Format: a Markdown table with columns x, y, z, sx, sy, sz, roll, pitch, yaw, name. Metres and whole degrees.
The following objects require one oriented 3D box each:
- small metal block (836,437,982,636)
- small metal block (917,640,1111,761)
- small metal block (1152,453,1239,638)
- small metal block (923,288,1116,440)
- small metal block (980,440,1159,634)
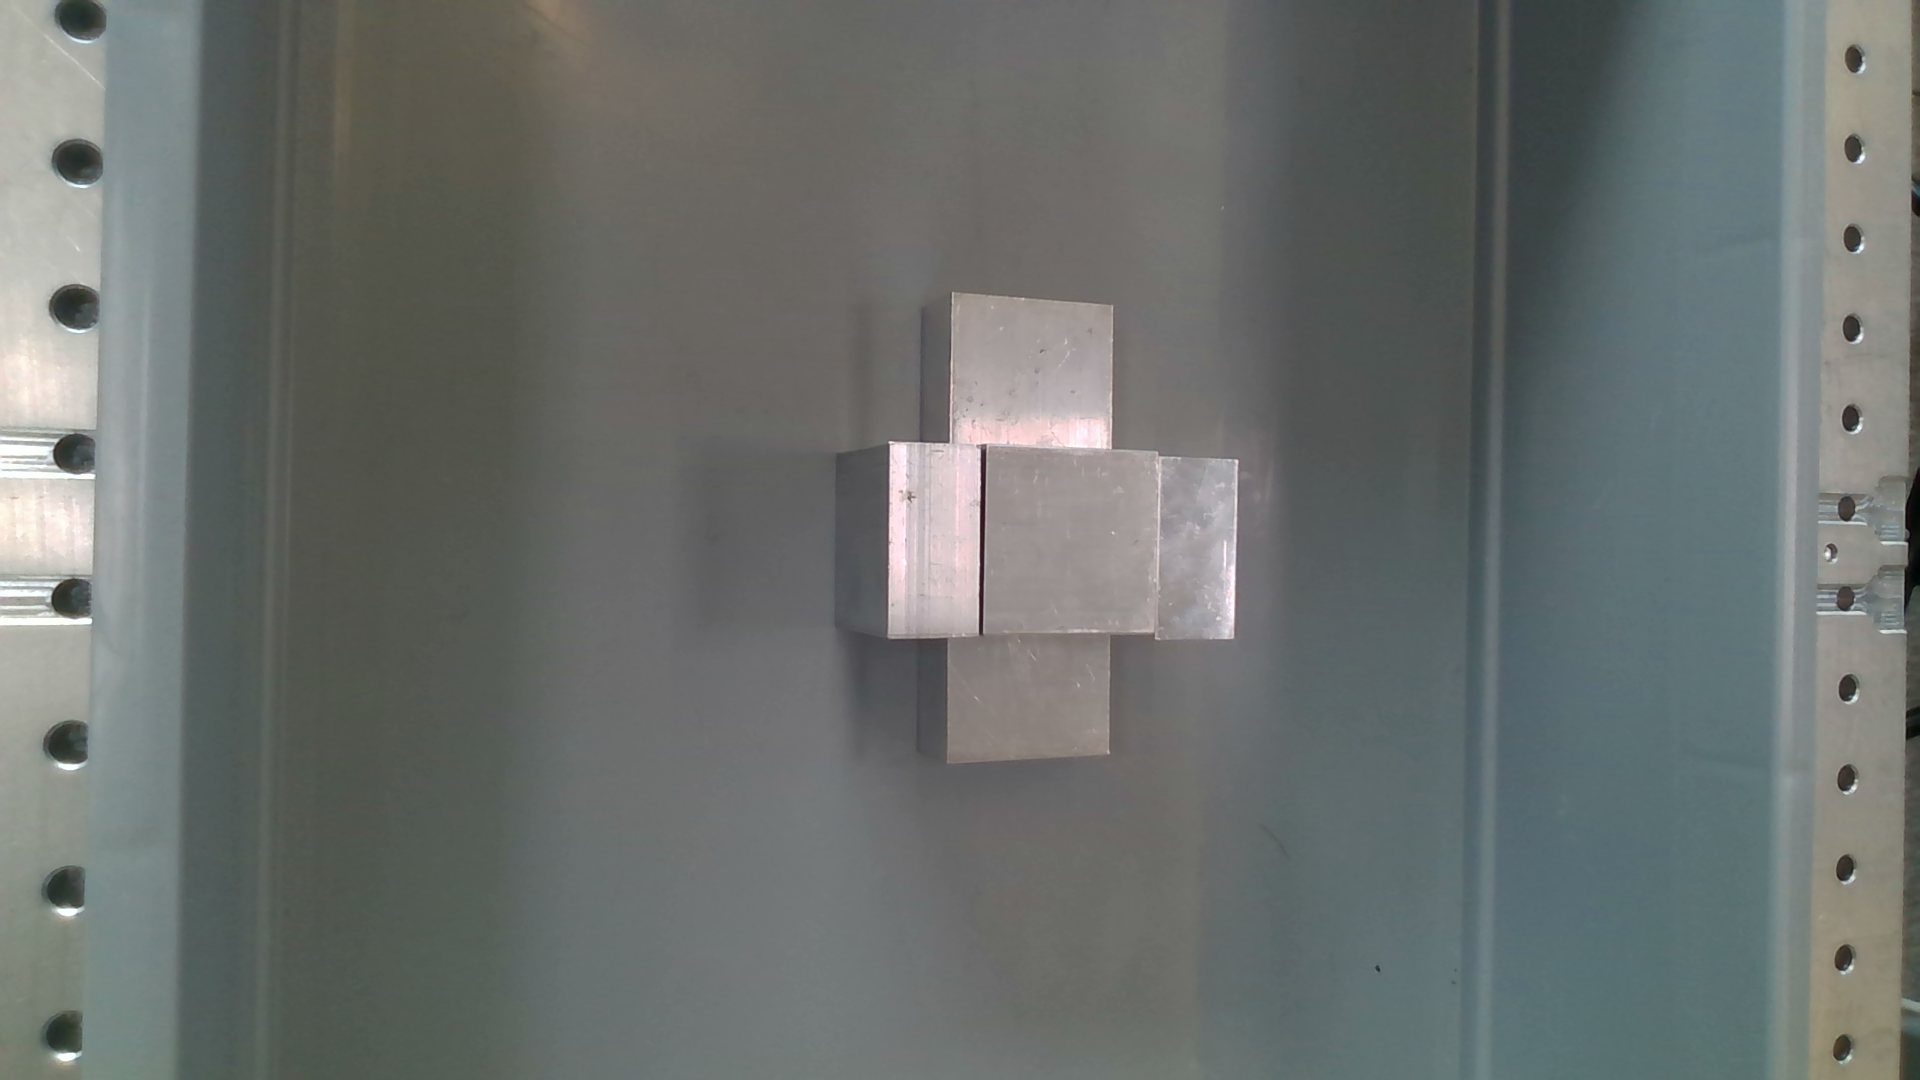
| x | y | z | sx | sy | sz | roll | pitch | yaw | name |
| --- | --- | --- | --- | --- | --- | --- | --- | --- | --- |
| -0.015 | -0.001 | 0.372 | 0.025 | 0.050 | 0.050 | 1 | 90 | -20 | small metal block |
| 0.016 | 0.036 | 0.399 | 0.050 | 0.025 | 0.050 | 1 | 90 | -20 | small metal block |
| 0.057 | 0.002 | 0.400 | 0.025 | 0.050 | 0.050 | 1 | 90 | -20 | small metal block |
| 0.017 | -0.044 | 0.398 | 0.050 | 0.025 | 0.050 | 1 | 90 | -20 | small metal block |
| 0.026 | 0.000 | 0.375 | 0.050 | 0.025 | 0.050 | 1 | 90 | -20 | small metal block |
